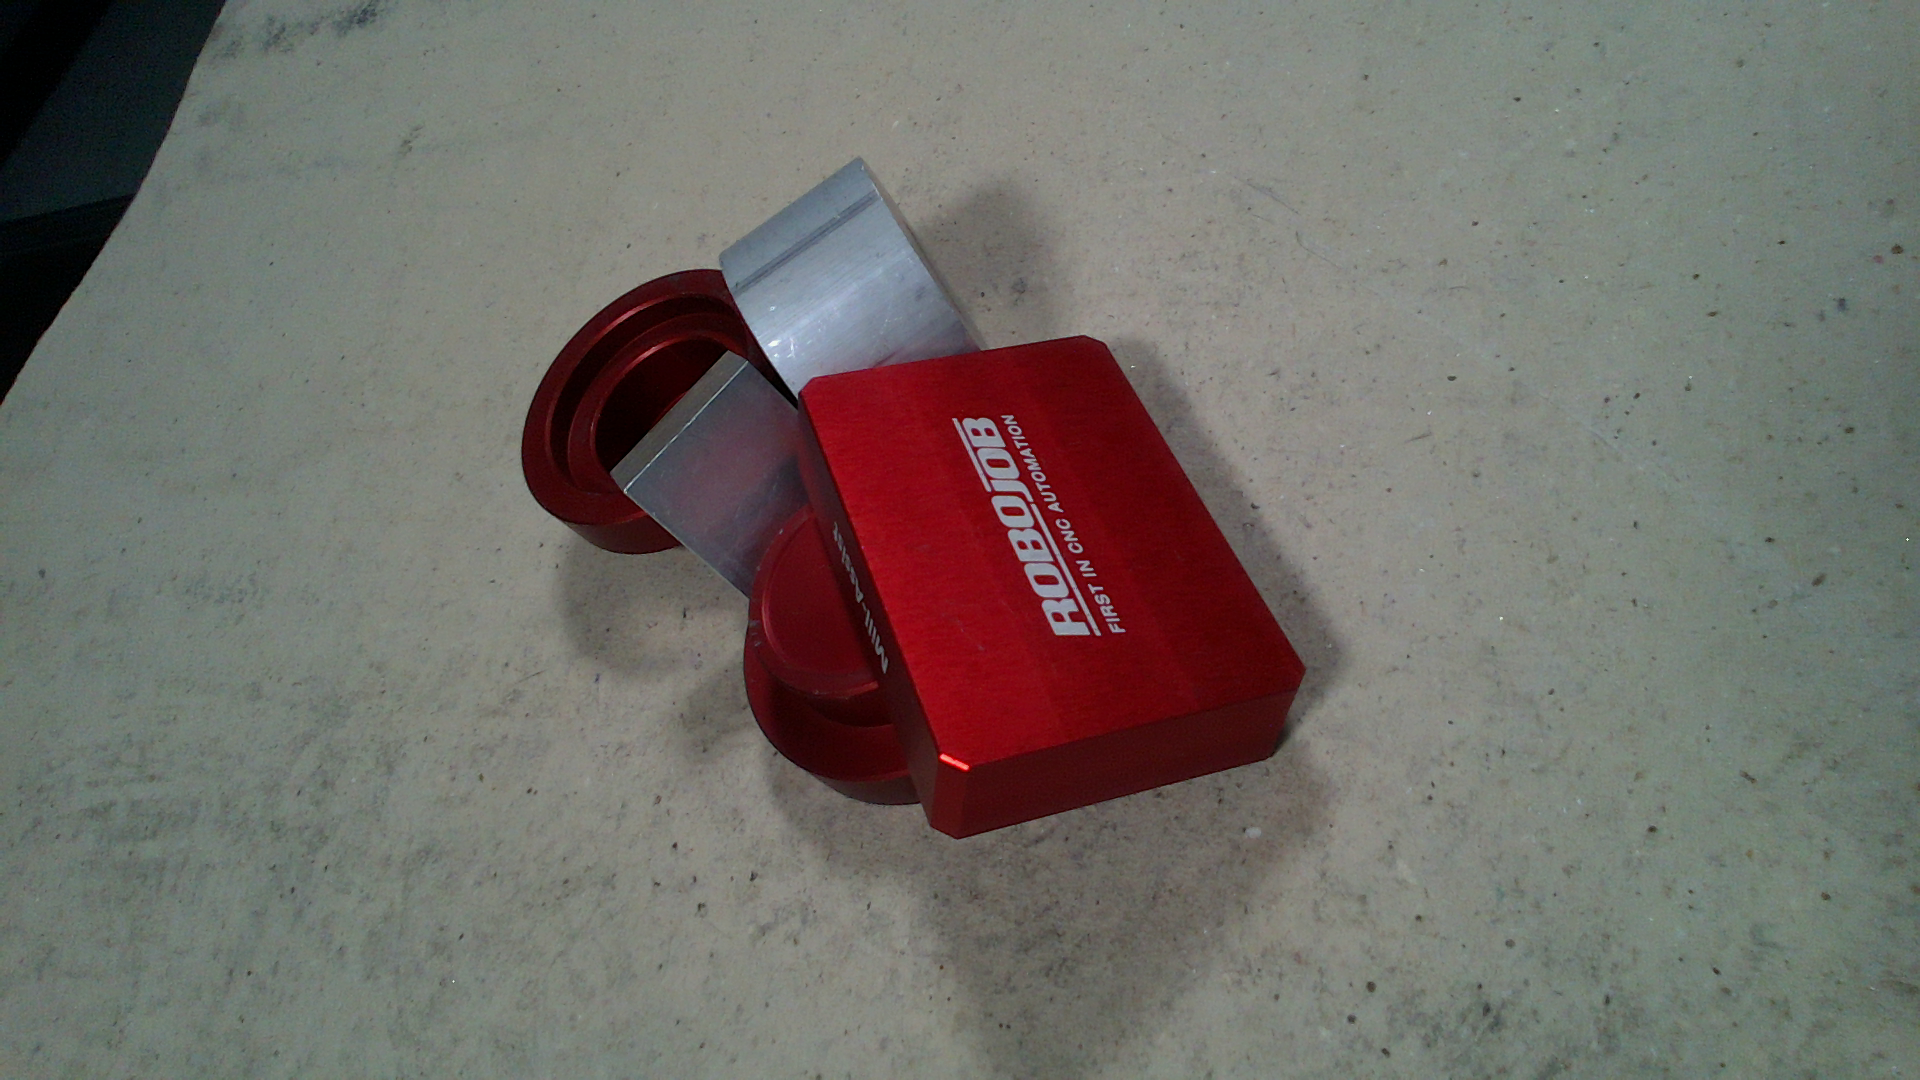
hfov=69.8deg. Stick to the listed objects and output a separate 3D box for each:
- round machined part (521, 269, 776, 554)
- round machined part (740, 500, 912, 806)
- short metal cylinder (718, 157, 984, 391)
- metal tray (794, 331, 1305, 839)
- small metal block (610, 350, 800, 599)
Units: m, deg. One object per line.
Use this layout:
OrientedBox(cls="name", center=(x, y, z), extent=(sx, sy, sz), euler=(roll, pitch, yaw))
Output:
OrientedBox(cls="round machined part", center=(-0.093, -0.038, 0.457), extent=(0.098, 0.042, 0.098), euler=(-13, 56, 21))
OrientedBox(cls="round machined part", center=(-0.020, 0.020, 0.381), extent=(0.098, 0.042, 0.098), euler=(-13, 56, 21))
OrientedBox(cls="short metal cylinder", center=(-0.028, -0.068, 0.416), extent=(0.050, 0.080, 0.080), euler=(-33, 51, 7))
OrientedBox(cls="metal tray", center=(0.017, 0.004, 0.351), extent=(0.090, 0.030, 0.130), euler=(-11, 50, -16))
OrientedBox(cls="small metal block", center=(-0.065, -0.019, 0.401), extent=(0.050, 0.050, 0.025), euler=(-47, 26, -5))
